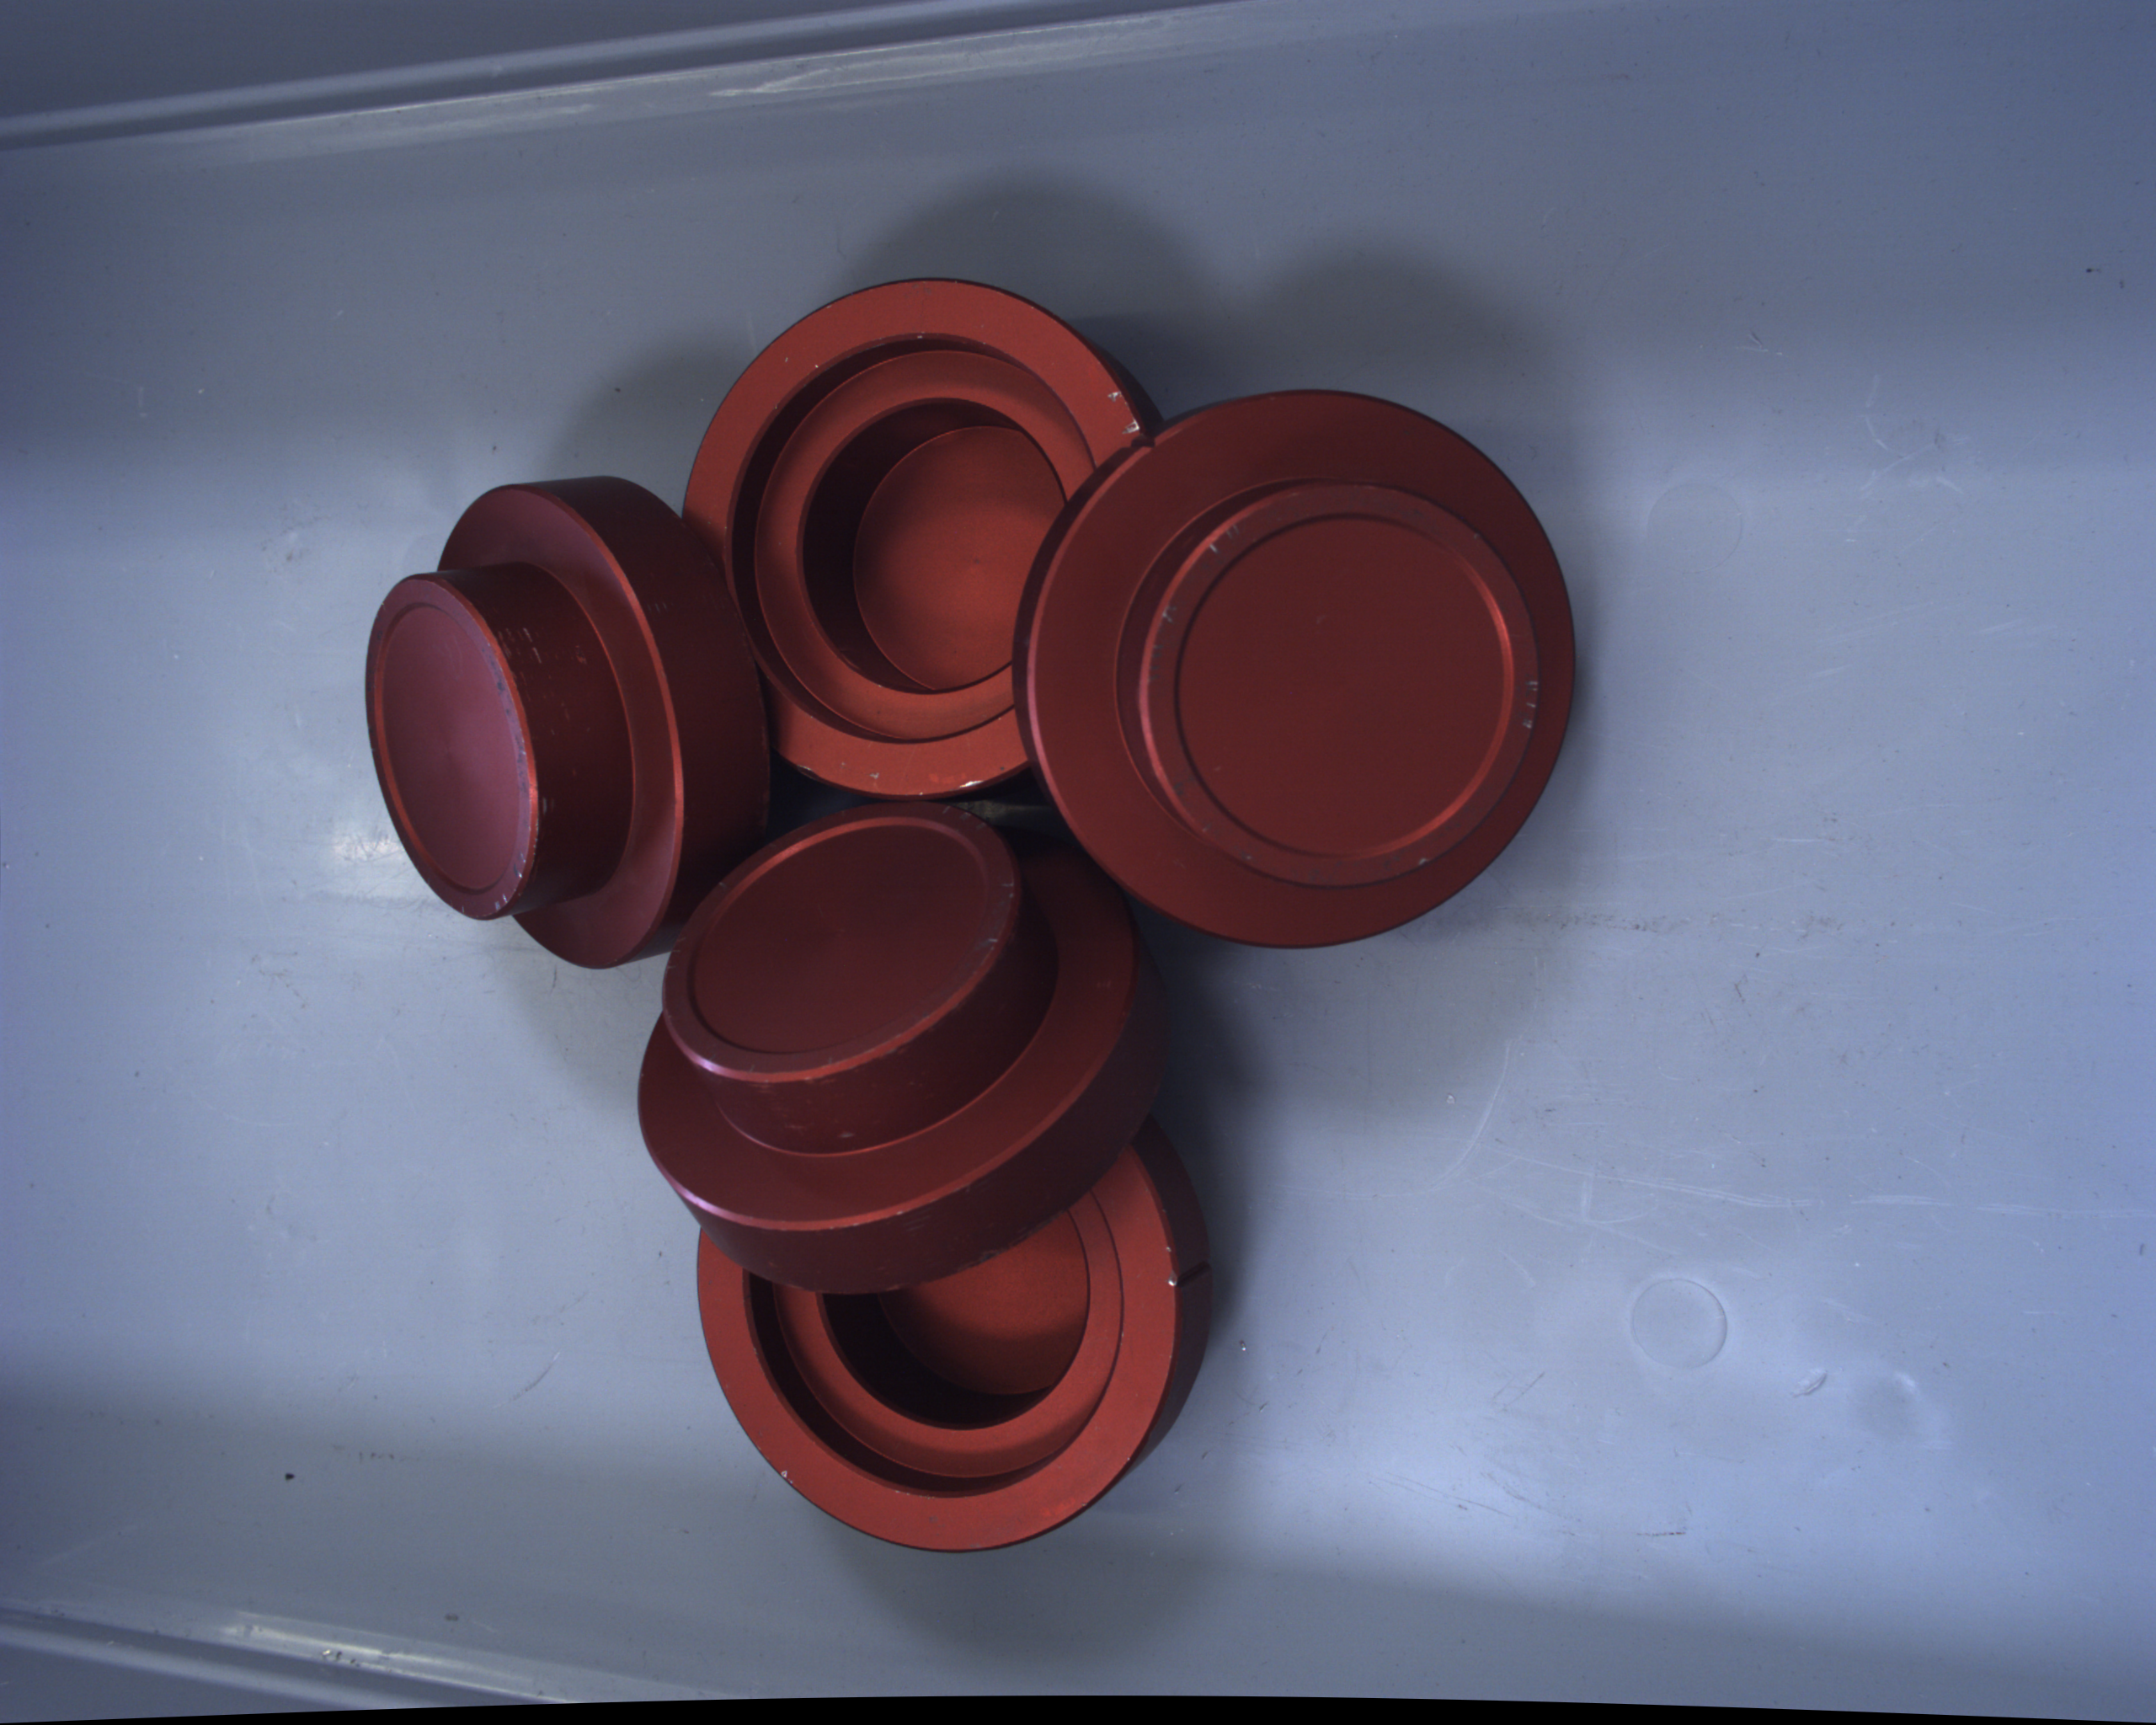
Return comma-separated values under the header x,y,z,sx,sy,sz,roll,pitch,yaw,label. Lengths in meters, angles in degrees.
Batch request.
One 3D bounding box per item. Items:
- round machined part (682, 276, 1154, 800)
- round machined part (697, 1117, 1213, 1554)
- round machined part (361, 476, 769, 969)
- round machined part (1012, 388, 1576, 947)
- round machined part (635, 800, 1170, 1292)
x,y,z,sx,sy,sz,roll,pitch,yaw,label
-0.024,-0.061,0.407,0.098,0.042,0.097,0,90,20,round machined part
-0.021,0.080,0.406,0.098,0.042,0.097,0,90,20,round machined part
-0.107,-0.026,0.414,0.098,0.042,0.097,17,113,44,round machined part
0.040,-0.033,0.361,0.099,0.042,0.097,-2,101,-10,round machined part
-0.036,0.026,0.382,0.098,0.098,0.042,-7,132,20,round machined part
